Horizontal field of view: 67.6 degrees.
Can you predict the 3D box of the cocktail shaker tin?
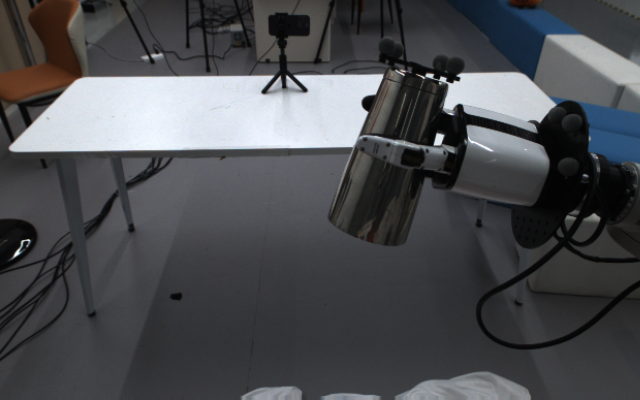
[{"bbox_3d":[0.077,-0.048,0.515,0.093,0.170,0.093,15,17,-5],"label":"cocktail shaker tin"}]
